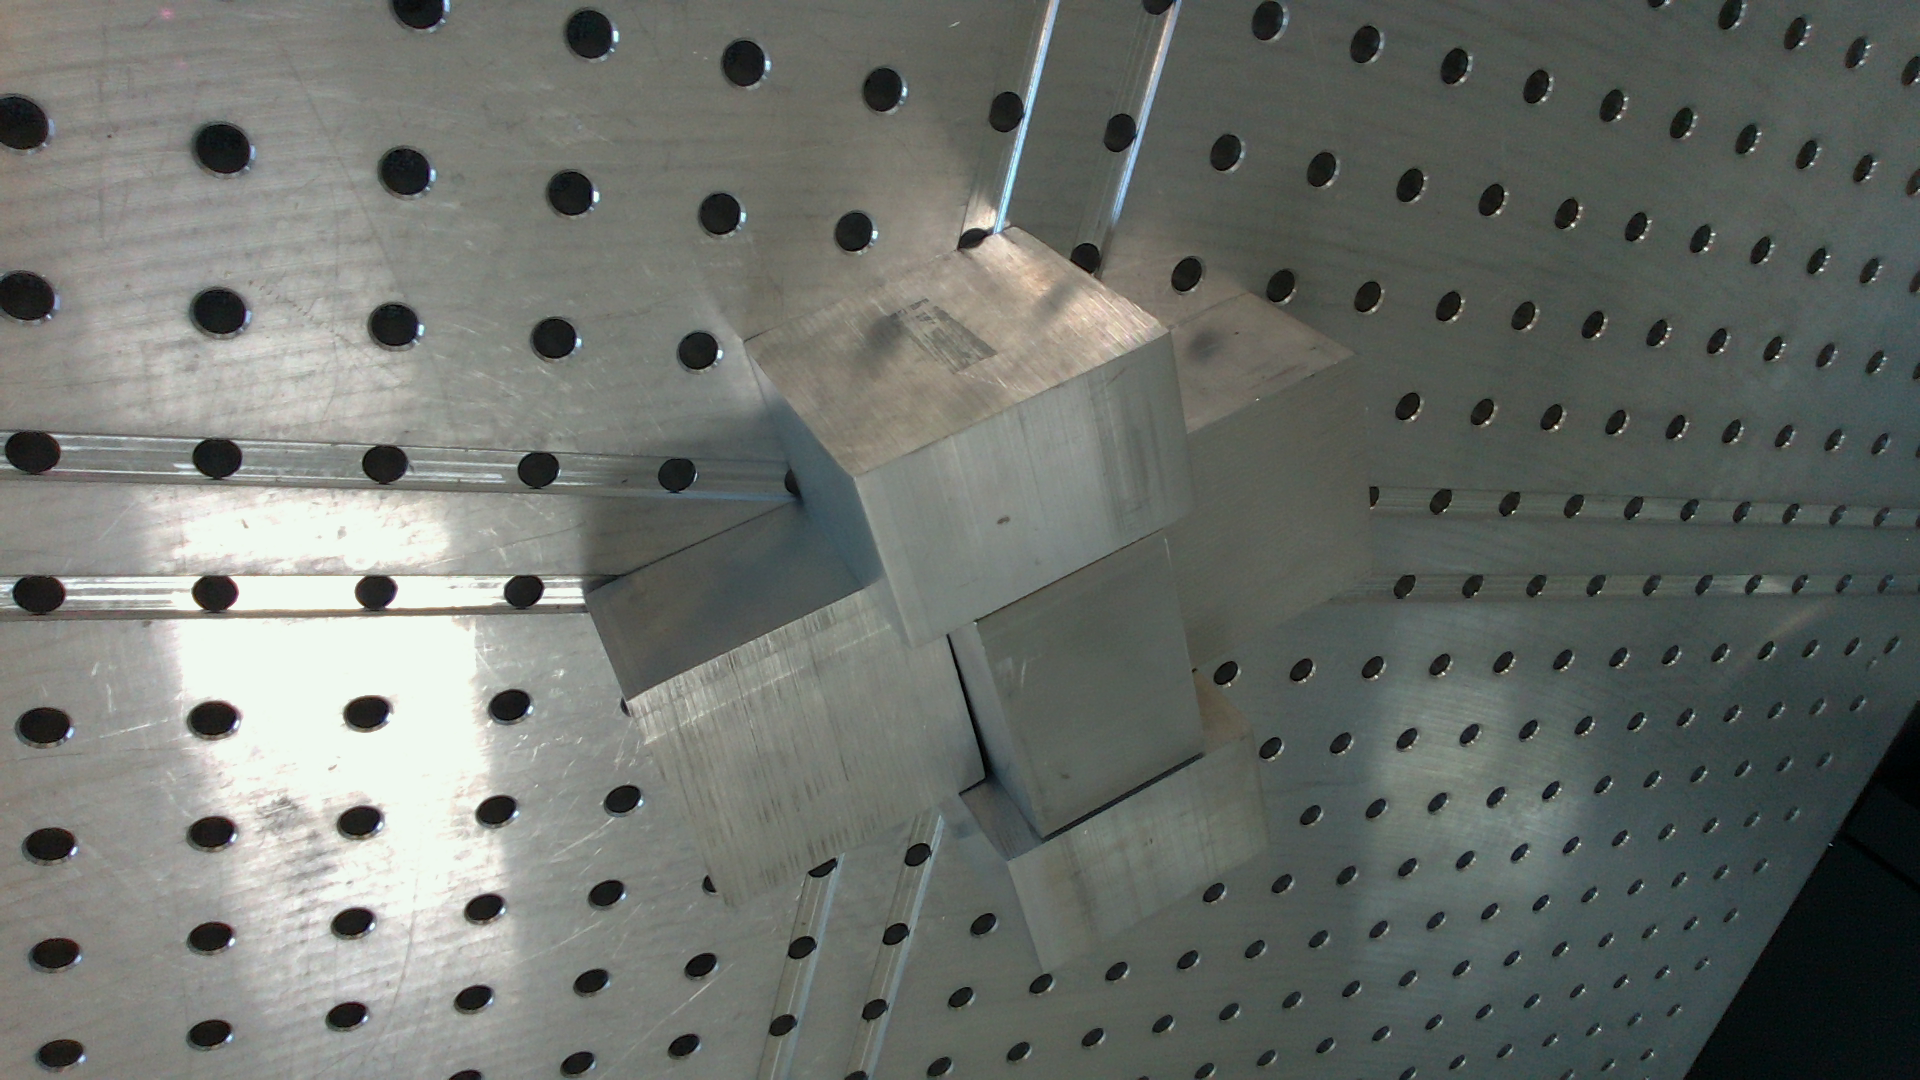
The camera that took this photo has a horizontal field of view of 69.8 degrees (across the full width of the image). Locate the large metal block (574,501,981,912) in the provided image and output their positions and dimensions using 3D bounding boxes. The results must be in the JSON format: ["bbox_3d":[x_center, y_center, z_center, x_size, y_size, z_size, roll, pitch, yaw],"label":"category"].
[{"bbox_3d":[-0.048,0.041,0.376,0.080,0.050,0.080,-24,127,-14],"label":"large metal block"}]

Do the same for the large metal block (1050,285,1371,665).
[{"bbox_3d":[0.071,-0.016,0.404,0.080,0.050,0.080,-26,130,-12],"label":"large metal block"}]

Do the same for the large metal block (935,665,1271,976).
[{"bbox_3d":[0.035,0.069,0.418,0.080,0.080,0.050,-26,128,-13],"label":"large metal block"}]

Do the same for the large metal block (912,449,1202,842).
[{"bbox_3d":[0.019,0.020,0.379,0.050,0.080,0.080,-26,128,-12],"label":"large metal block"}]

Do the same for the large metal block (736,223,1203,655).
[{"bbox_3d":[0.001,-0.029,0.339,0.080,0.080,0.050,-25,127,-12],"label":"large metal block"}]
